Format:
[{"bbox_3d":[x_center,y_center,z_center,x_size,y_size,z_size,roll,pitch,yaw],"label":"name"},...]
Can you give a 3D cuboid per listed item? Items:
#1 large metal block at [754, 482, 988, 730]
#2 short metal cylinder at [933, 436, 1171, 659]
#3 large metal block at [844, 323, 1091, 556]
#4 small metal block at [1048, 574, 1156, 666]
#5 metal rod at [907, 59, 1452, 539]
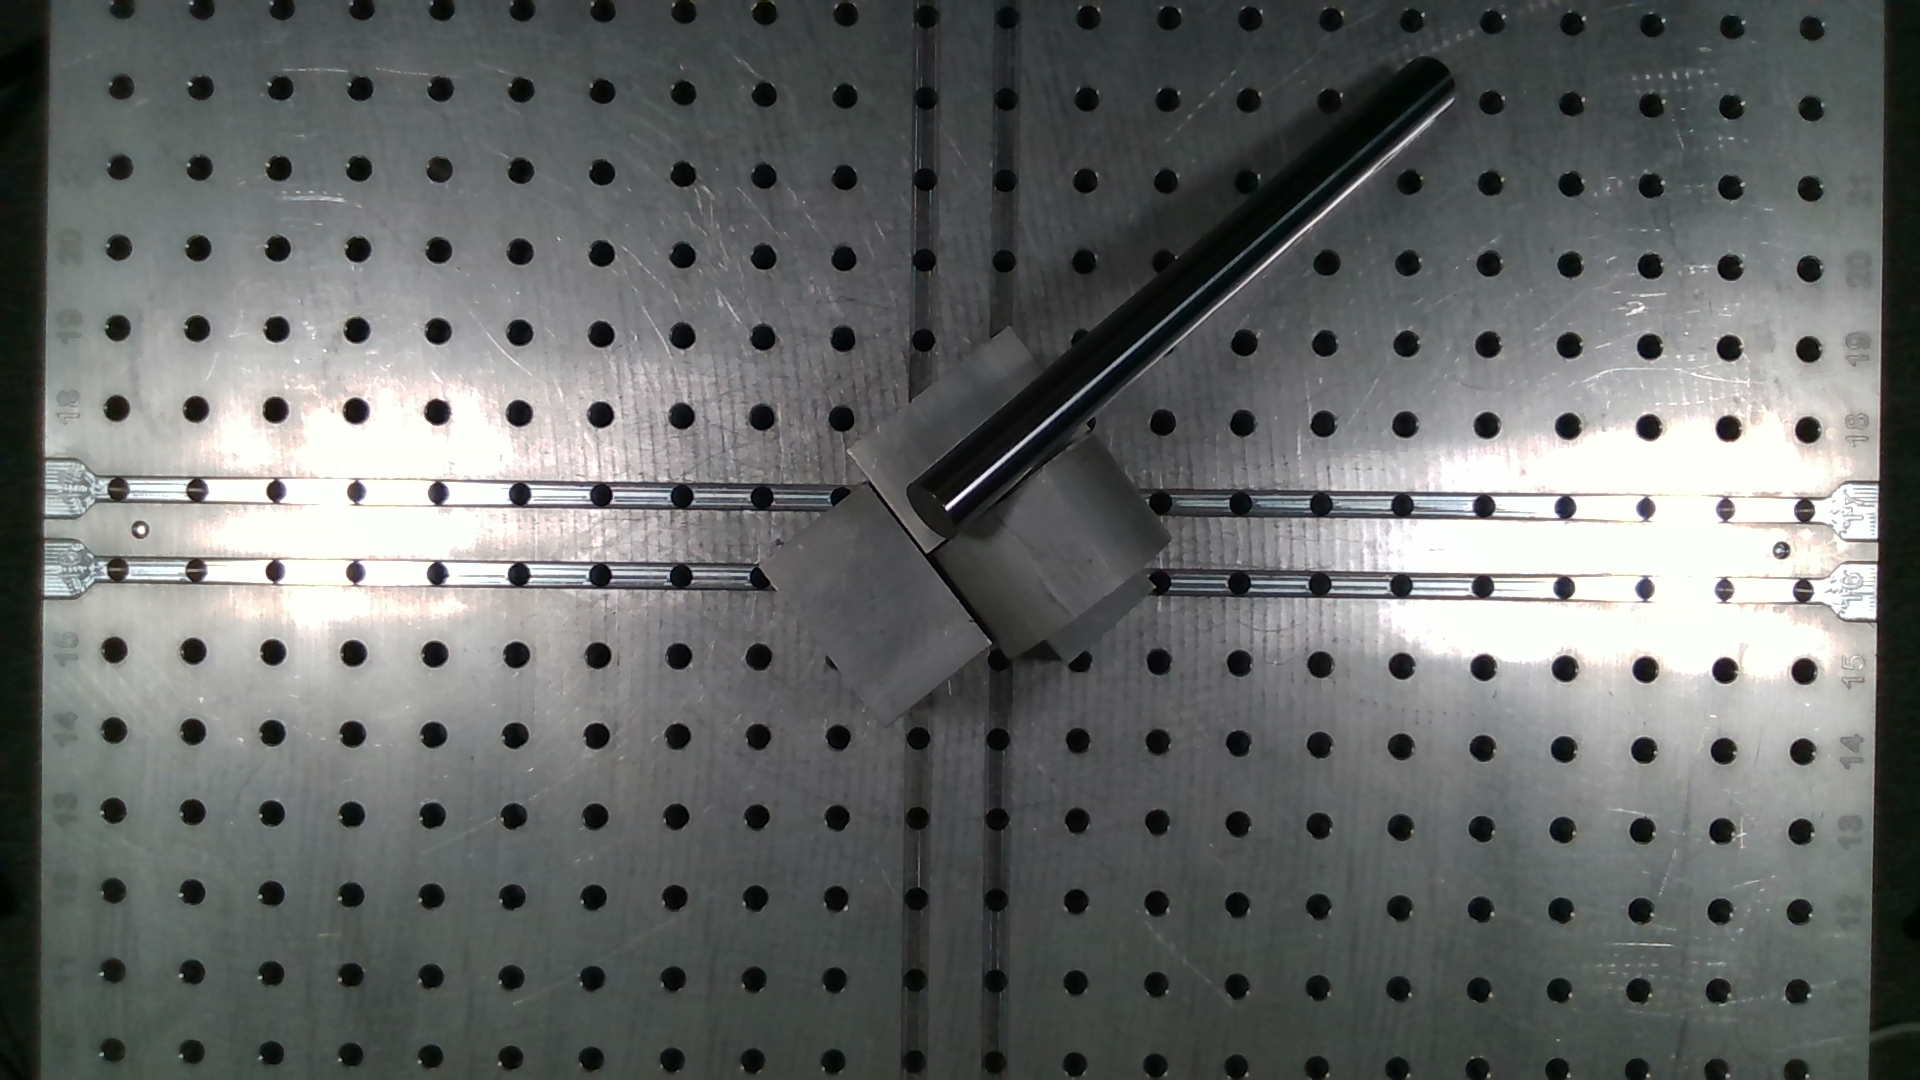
[{"bbox_3d":[-0.034,0.025,0.560,0.050,0.080,0.080,-38,90,0],"label":"large metal block"},{"bbox_3d":[0.035,0.002,0.536,0.080,0.080,0.050,-37,90,0],"label":"short metal cylinder"},{"bbox_3d":[0.003,-0.038,0.562,0.080,0.080,0.050,-38,90,0],"label":"large metal block"},{"bbox_3d":[0.047,0.017,0.590,0.050,0.025,0.050,-42,90,0],"label":"small metal block"},{"bbox_3d":[0.095,-0.102,0.536,0.300,0.025,0.025,-41,90,-21],"label":"metal rod"}]
